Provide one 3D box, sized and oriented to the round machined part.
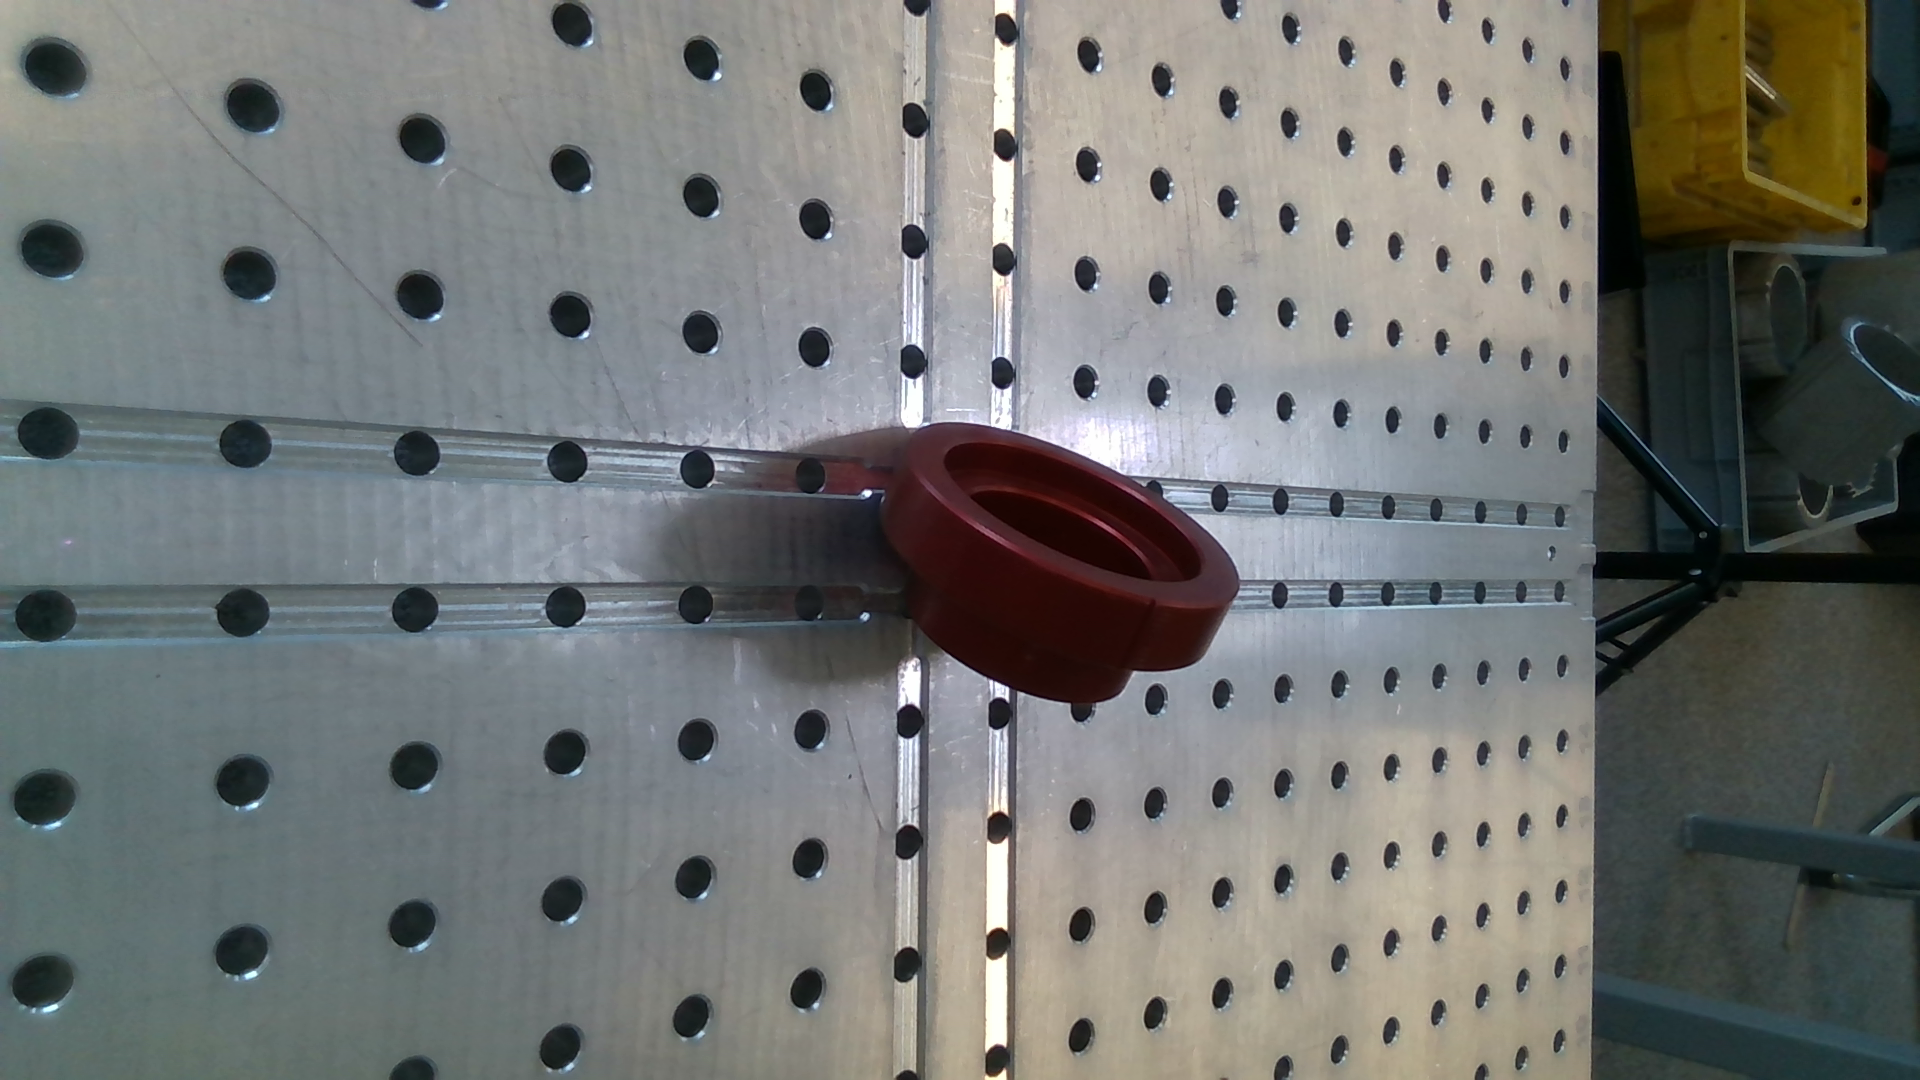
[{"bbox_3d":[0.023,0.008,0.378,0.098,0.098,0.042,4,118,-40],"label":"round machined part"}]
